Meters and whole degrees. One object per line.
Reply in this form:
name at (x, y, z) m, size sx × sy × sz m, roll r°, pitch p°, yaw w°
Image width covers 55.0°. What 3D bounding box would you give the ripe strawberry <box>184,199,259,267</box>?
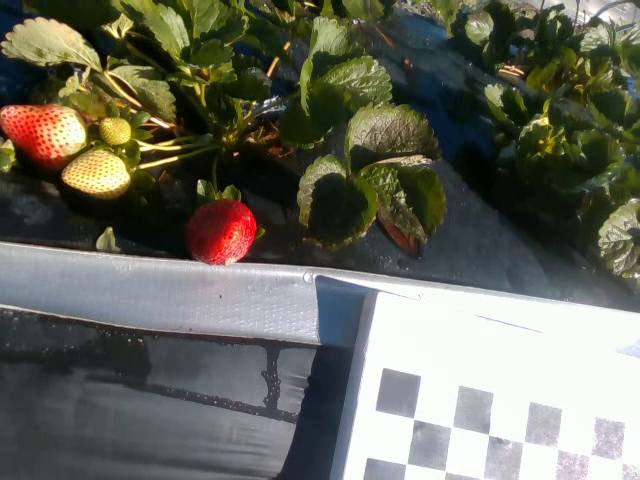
ripe strawberry at (-0.044, -0.002, 0.265) m, size 0.036 × 0.038 × 0.045 m, roll 13°, pitch 2°, yaw -11°
